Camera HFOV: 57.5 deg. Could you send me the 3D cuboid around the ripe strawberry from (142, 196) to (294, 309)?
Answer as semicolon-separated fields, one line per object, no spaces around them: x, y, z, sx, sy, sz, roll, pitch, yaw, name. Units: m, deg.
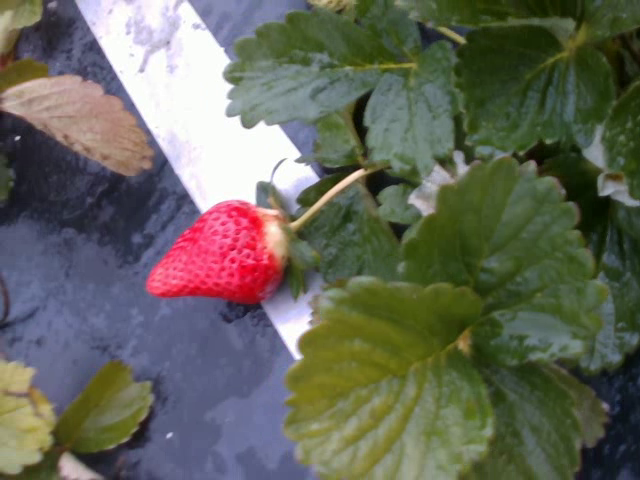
-0.036;0.006;0.196;0.051;0.041;0.037;-25;9;2;ripe strawberry
